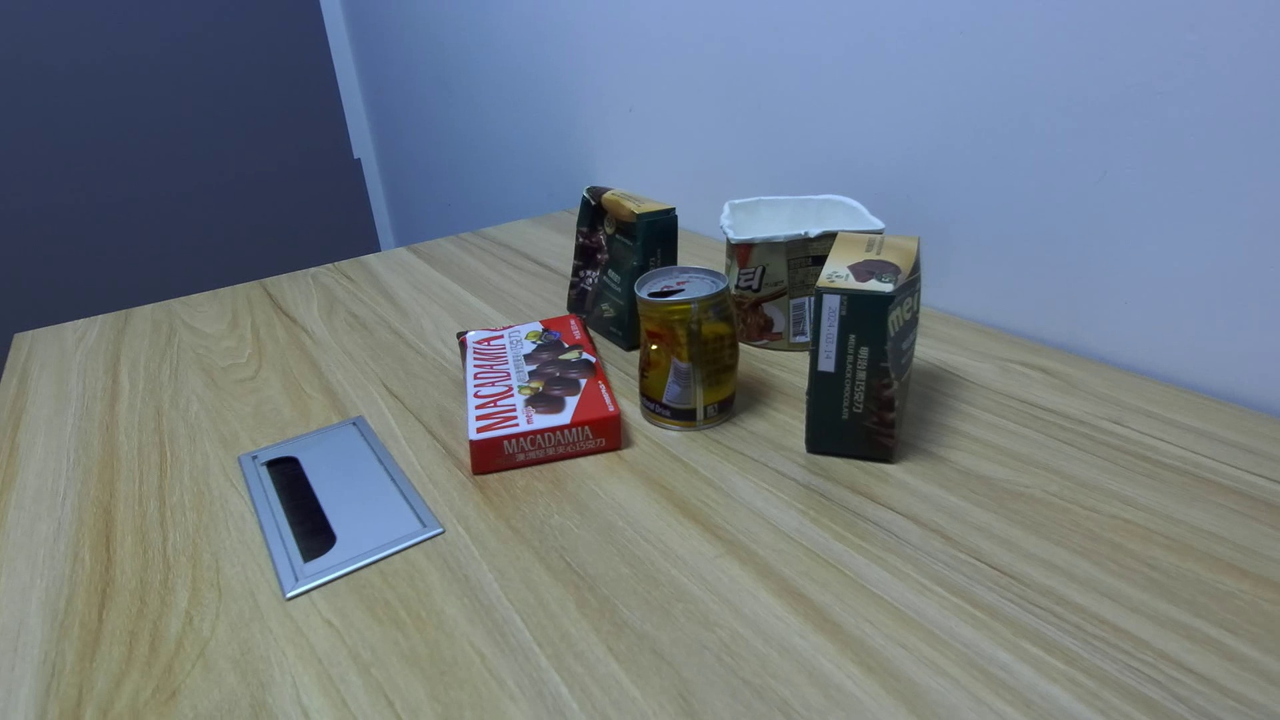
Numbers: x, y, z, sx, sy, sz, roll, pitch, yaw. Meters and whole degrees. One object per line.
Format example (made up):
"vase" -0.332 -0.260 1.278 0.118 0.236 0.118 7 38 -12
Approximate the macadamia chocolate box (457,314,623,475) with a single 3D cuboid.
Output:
"macadamia chocolate box" -0.076 0.015 0.511 0.106 0.028 0.182 -9 26 -11

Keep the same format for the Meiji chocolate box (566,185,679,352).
"Meiji chocolate box" -0.014 -0.081 0.597 0.052 0.117 0.116 -13 29 -31

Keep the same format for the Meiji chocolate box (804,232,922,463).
"Meiji chocolate box" 0.140 -0.012 0.435 0.058 0.111 0.113 7 28 19

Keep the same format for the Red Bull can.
"Red Bull can" 0.029 -0.009 0.465 0.072 0.092 0.072 -3 27 2

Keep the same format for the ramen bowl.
"ramen bowl" 0.120 -0.080 0.590 0.114 0.098 0.133 -10 28 -8
